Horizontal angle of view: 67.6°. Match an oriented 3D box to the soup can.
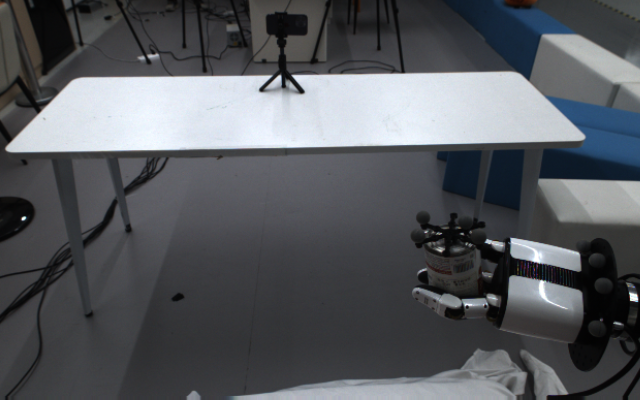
[{"bbox_3d":[0.169,0.088,0.604,0.067,0.101,0.067,-11,27,6],"label":"soup can"}]
